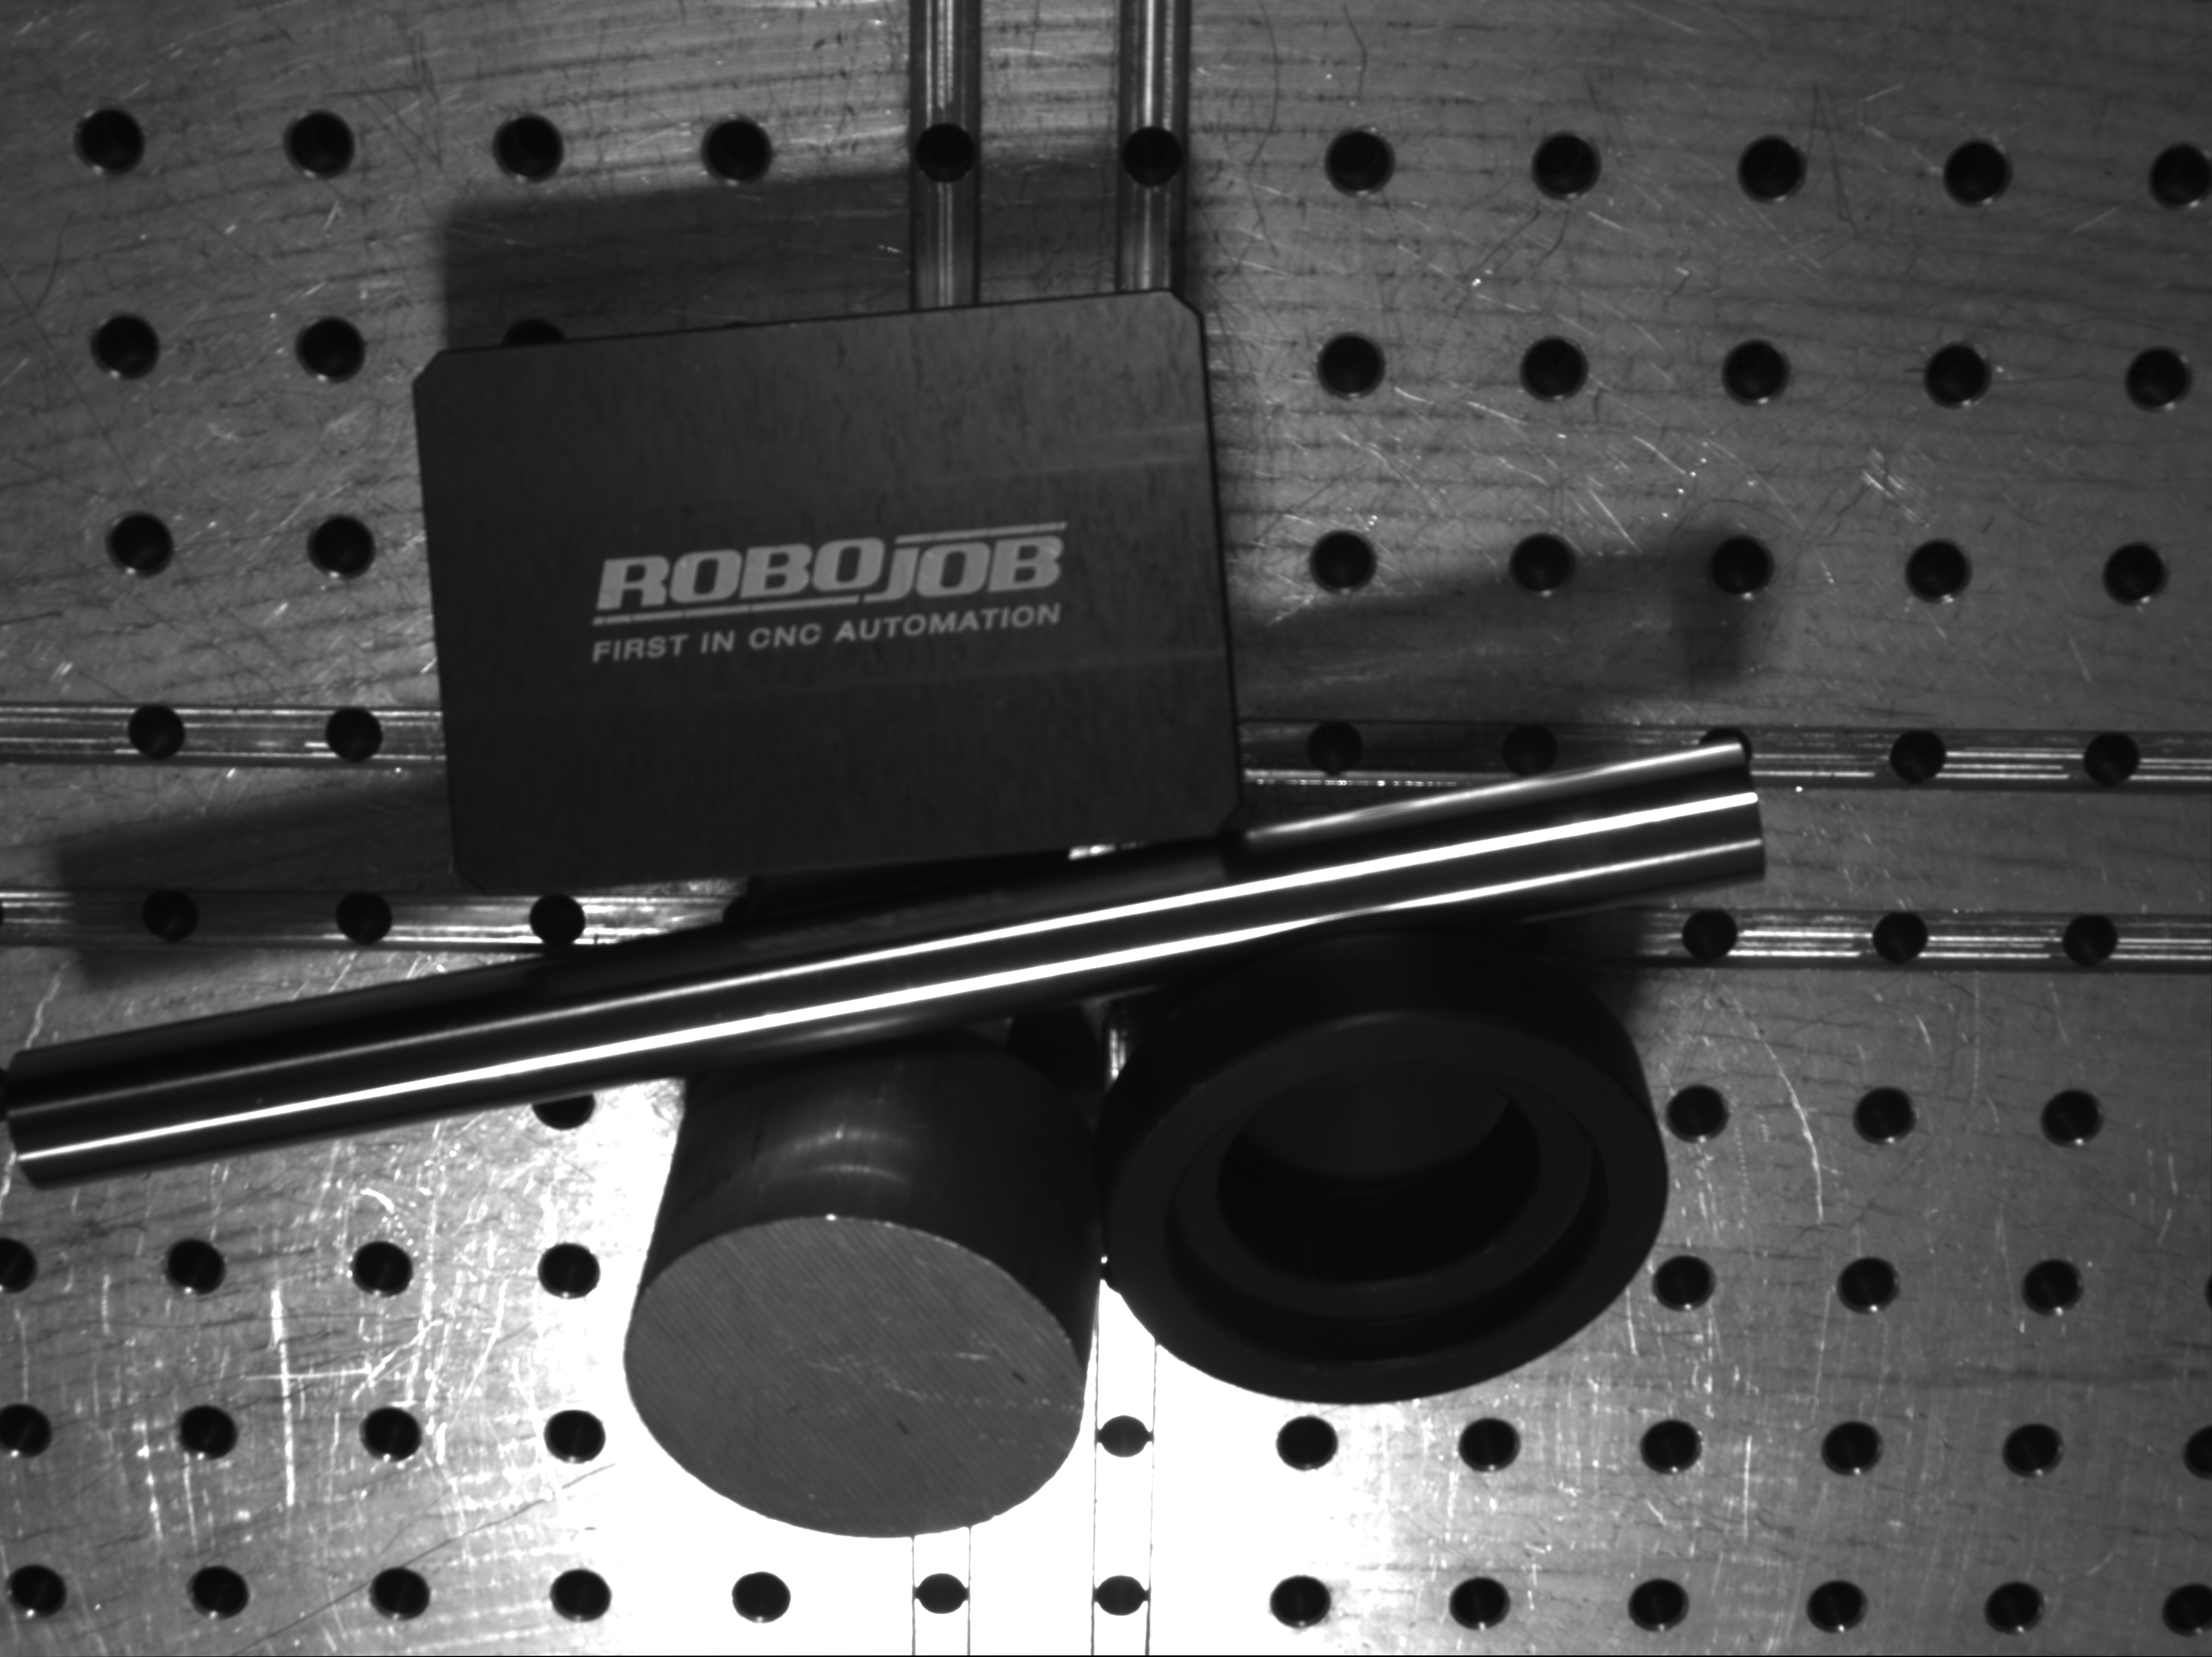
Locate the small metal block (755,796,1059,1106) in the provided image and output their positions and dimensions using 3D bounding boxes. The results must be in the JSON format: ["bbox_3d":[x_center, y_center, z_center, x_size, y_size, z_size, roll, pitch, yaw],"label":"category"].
[{"bbox_3d":[-0.038,0.020,0.661,0.050,0.025,0.050,17,109,-7],"label":"small metal block"}]

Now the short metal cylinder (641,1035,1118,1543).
[{"bbox_3d":[-0.038,0.081,0.649,0.080,0.050,0.080,3,128,4],"label":"short metal cylinder"}]

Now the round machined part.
[{"bbox_3d":[0.050,0.054,0.644,0.098,0.042,0.098,-3,132,-3],"label":"round machined part"}]

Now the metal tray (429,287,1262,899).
[{"bbox_3d":[-0.042,-0.039,0.613,0.130,0.030,0.090,-5,91,0],"label":"metal tray"}]

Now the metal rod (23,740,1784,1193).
[{"bbox_3d":[-0.035,0.024,0.627,0.300,0.025,0.025,-10,110,3],"label":"metal rod"}]
